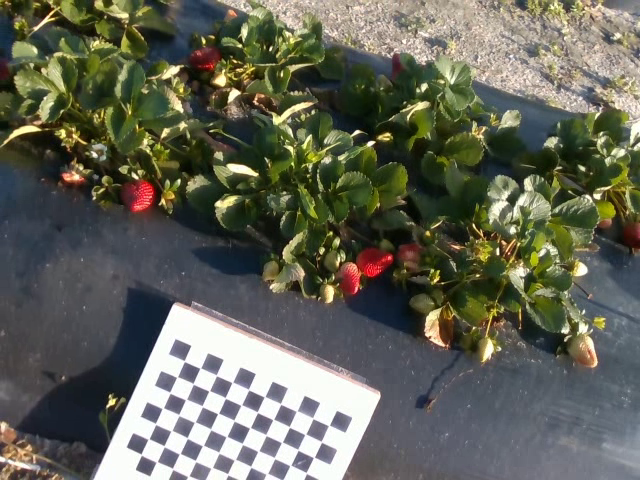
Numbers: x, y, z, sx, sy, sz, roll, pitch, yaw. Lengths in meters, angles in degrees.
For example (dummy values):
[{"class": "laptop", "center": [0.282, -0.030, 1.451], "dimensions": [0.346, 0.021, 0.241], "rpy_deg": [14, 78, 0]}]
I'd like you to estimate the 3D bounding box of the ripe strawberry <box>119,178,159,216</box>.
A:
[{"class": "ripe strawberry", "center": [-0.247, -0.055, 0.819], "dimensions": [0.052, 0.041, 0.052], "rpy_deg": [-7, 35, -1]}]
